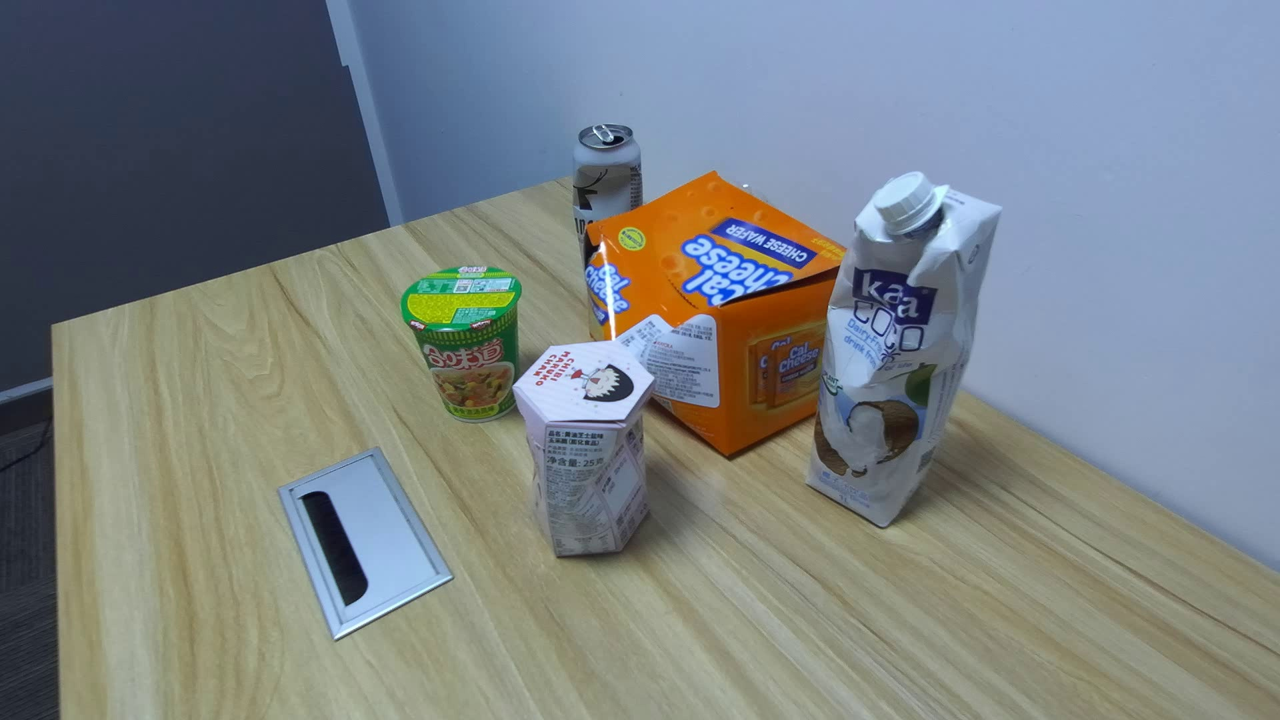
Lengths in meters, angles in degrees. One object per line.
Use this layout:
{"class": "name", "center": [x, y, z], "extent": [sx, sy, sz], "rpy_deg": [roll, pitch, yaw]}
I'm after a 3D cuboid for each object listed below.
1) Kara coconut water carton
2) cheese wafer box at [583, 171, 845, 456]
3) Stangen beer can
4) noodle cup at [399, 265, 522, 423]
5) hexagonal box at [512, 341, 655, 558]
{"class": "Kara coconut water carton", "center": [0.164, -0.007, 0.462], "extent": [0.078, 0.256, 0.083], "rpy_deg": [-26, 43, -25]}
{"class": "cheese wafer box", "center": [0.057, -0.049, 0.615], "extent": [0.192, 0.145, 0.218], "rpy_deg": [-23, 42, -26]}
{"class": "Stangen beer can", "center": [-0.031, -0.155, 0.735], "extent": [0.070, 0.173, 0.070], "rpy_deg": [-26, 45, -26]}
{"class": "noodle cup", "center": [-0.144, -0.009, 0.604], "extent": [0.097, 0.110, 0.097], "rpy_deg": [-1, 37, 1]}
{"class": "hexagonal box", "center": [-0.031, 0.062, 0.483], "extent": [0.091, 0.135, 0.090], "rpy_deg": [-16, 42, -17]}
